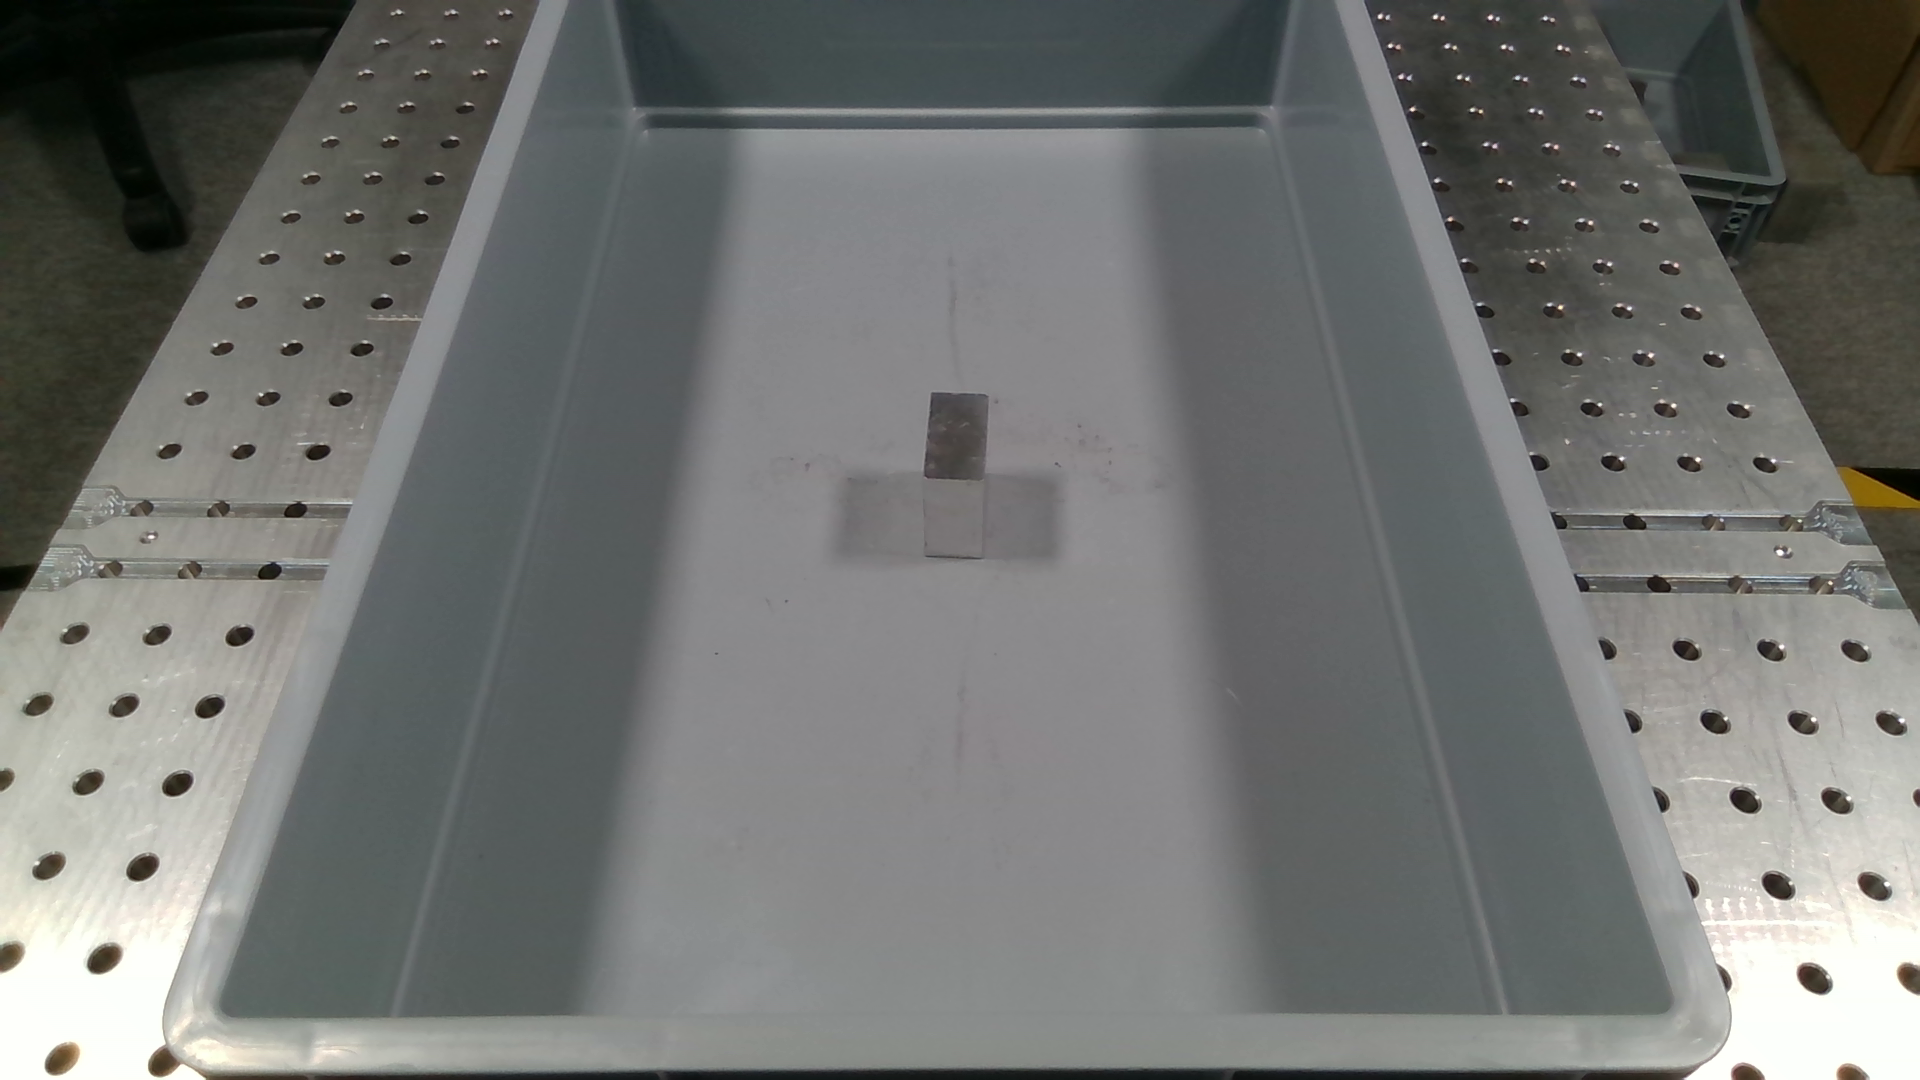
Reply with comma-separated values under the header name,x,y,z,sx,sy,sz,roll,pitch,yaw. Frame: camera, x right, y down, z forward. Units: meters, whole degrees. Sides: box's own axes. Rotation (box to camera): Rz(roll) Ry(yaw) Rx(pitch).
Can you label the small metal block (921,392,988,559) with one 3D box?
name,x,y,z,sx,sy,sz,roll,pitch,yaw
small metal block,-0.002,-0.028,0.590,0.025,0.050,0.050,3,50,2
